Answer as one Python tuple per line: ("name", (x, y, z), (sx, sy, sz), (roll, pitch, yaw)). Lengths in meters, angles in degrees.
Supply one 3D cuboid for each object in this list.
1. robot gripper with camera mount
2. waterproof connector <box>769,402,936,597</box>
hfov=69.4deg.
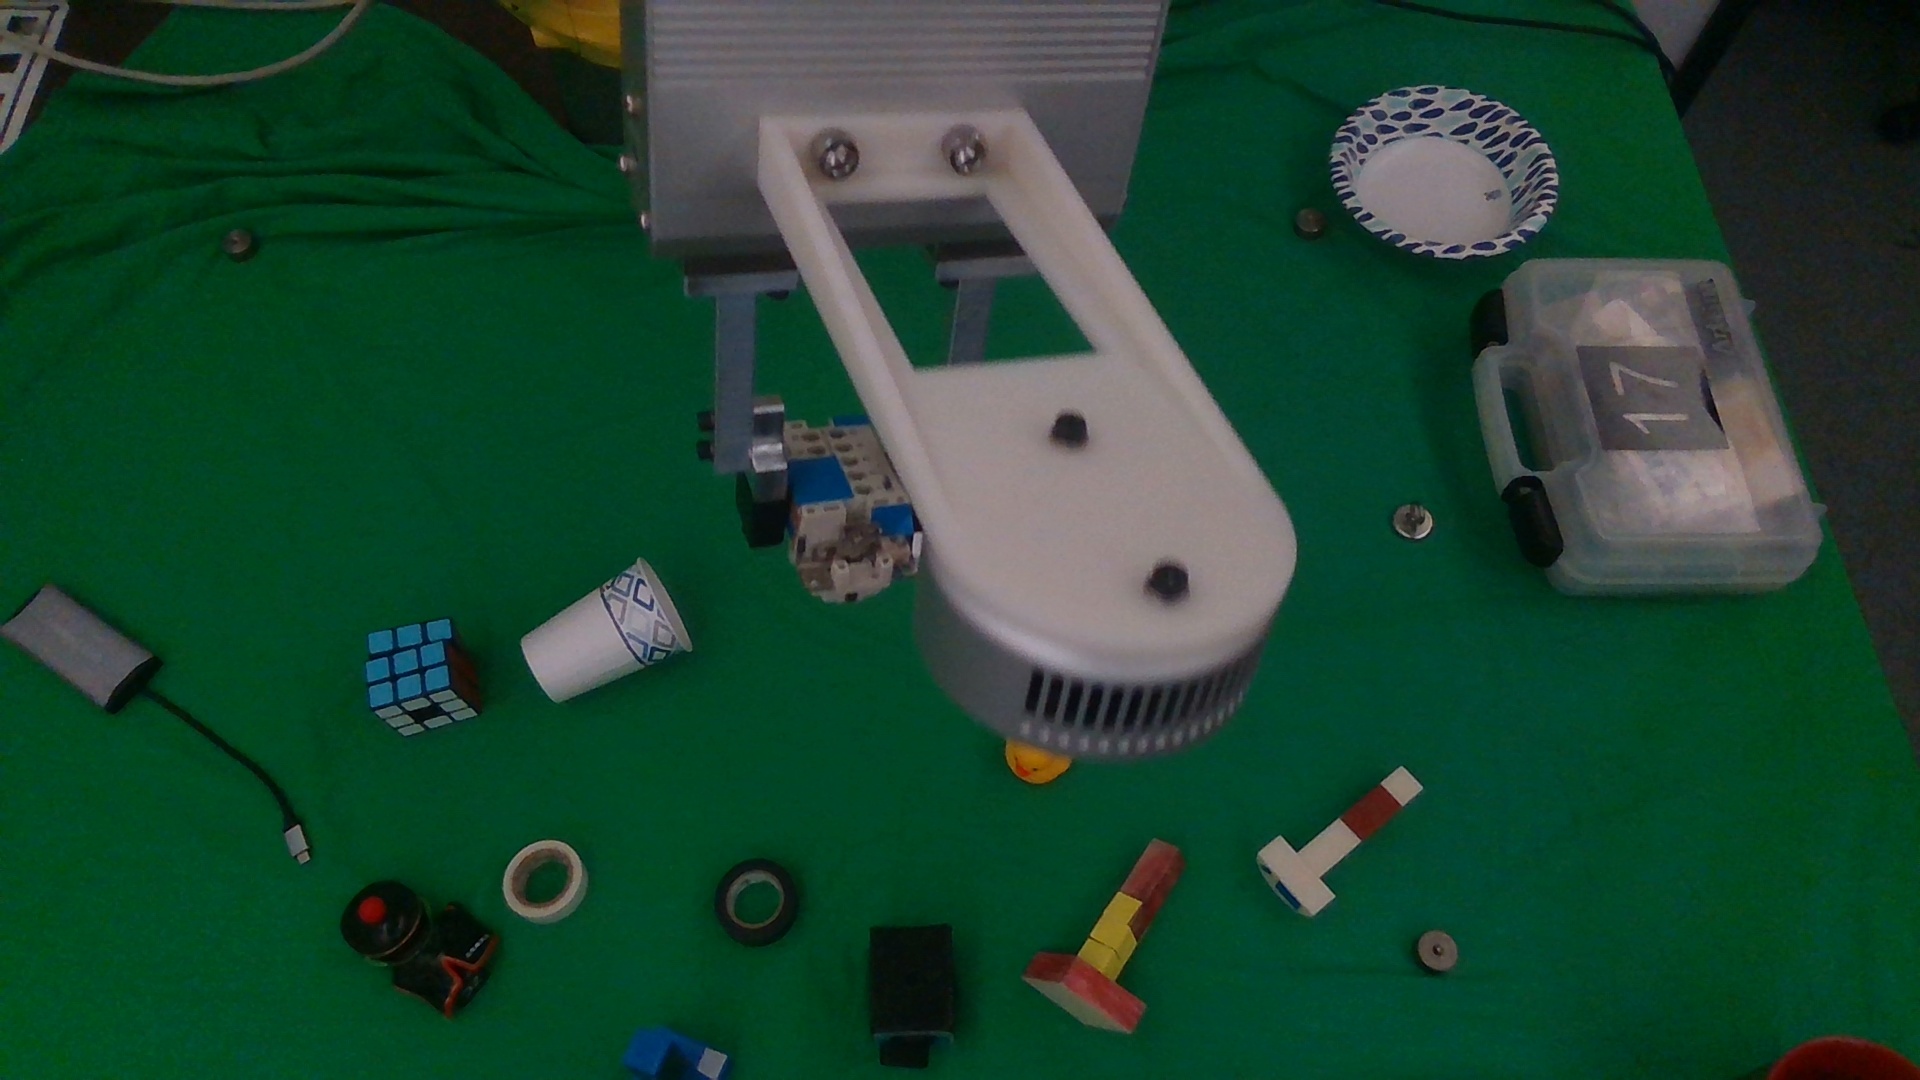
("robot gripper with camera mount", (0.007, -0.020, 0.287), (0.119, 0.158, 0.194), (-7, 40, -19))
("waterproof connector", (-0.033, -0.012, 0.391), (0.035, 0.037, 0.065), (-8, 41, -22))
